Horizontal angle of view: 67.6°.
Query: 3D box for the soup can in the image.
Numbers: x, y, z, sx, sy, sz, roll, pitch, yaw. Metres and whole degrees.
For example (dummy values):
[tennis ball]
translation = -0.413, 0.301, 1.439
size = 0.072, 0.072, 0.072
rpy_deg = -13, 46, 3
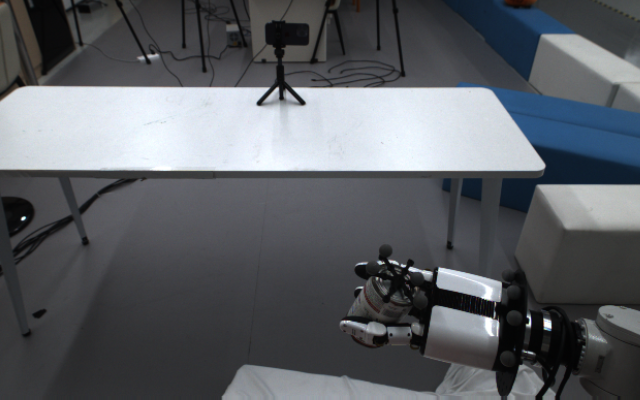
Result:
[soup can]
translation = 0.083, 0.141, 0.642
size = 0.067, 0.101, 0.067
rpy_deg = 14, 39, -12
